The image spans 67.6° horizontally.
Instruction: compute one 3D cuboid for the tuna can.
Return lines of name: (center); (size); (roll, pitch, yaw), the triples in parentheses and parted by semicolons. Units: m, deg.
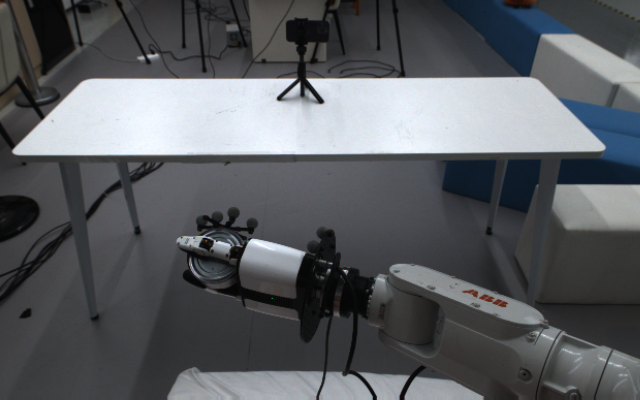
tuna can: (-0.146, 0.087, 0.707); (0.085, 0.034, 0.085); (-3, 61, 5)
